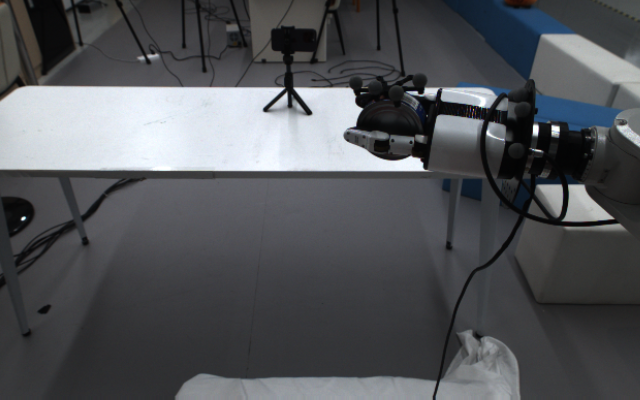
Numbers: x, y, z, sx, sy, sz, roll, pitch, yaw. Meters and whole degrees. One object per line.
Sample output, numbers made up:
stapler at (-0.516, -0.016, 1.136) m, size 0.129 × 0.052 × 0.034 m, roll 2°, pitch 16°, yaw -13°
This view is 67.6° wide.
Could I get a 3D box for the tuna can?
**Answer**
tuna can at (0.093, -0.097, 0.620) m, size 0.085 × 0.085 × 0.034 m, roll 14°, pitch 41°, yaw 16°
